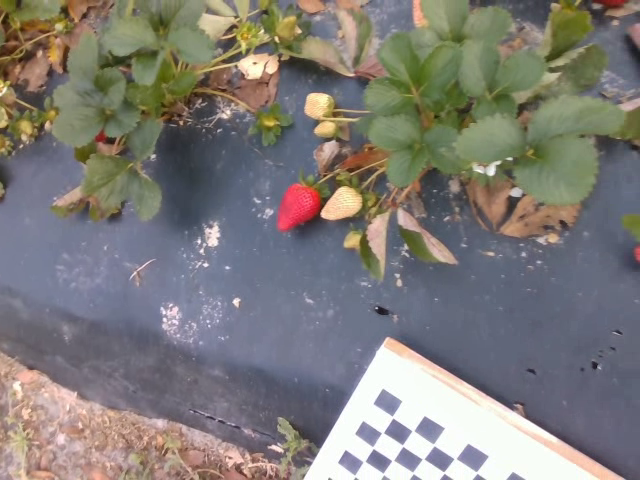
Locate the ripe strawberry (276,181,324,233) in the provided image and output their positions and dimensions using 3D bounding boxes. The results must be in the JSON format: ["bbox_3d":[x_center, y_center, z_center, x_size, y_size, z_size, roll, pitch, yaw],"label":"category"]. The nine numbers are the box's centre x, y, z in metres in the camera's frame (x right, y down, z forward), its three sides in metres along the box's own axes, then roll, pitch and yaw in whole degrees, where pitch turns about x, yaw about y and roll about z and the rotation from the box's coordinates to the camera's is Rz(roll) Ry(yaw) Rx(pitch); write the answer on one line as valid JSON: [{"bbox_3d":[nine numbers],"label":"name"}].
[{"bbox_3d":[-0.024,-0.033,0.615,0.050,0.059,0.034,22,-22,20],"label":"ripe strawberry"}]
